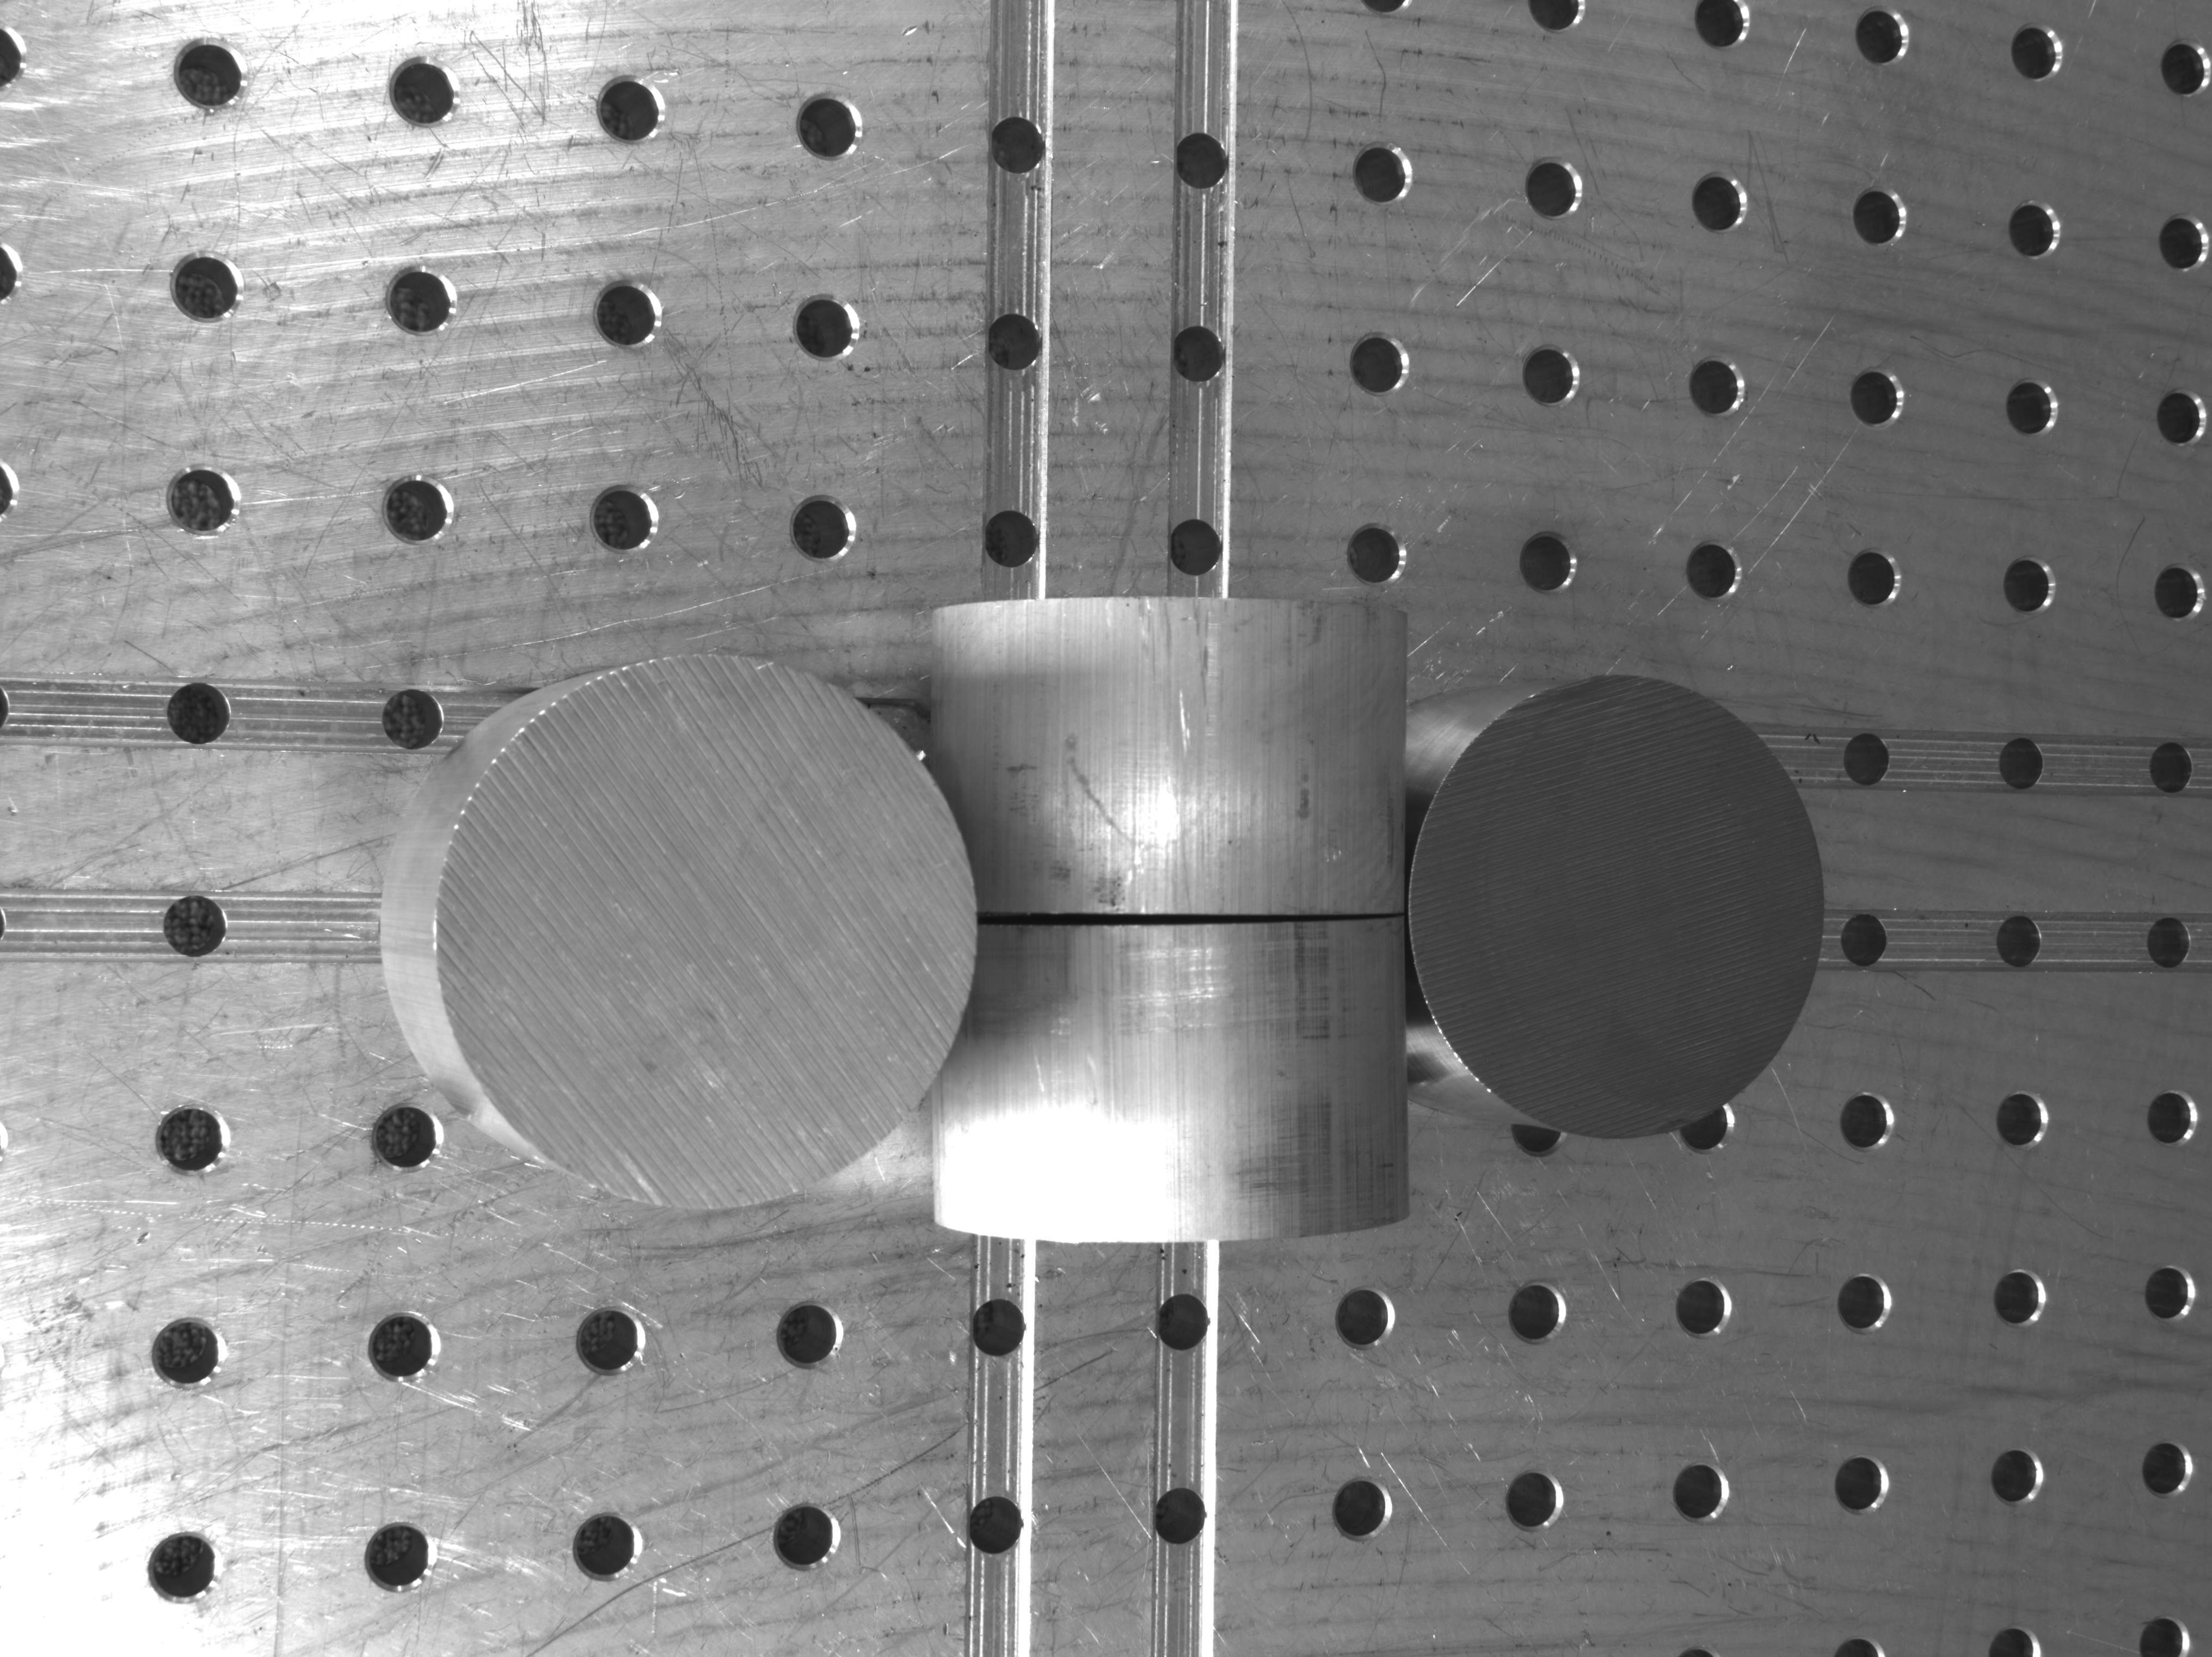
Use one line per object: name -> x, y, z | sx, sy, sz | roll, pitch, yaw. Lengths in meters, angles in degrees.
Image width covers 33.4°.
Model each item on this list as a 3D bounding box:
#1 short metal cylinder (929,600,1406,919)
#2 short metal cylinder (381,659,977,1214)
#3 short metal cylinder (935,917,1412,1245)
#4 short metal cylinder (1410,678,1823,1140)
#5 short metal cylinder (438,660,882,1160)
short metal cylinder -> 0.010, -0.011, 0.621 | 0.080, 0.080, 0.050 | 1, 90, -20
short metal cylinder -> -0.065, 0.016, 0.555 | 0.080, 0.050, 0.080 | 0, 90, -20
short metal cylinder -> 0.011, 0.040, 0.620 | 0.080, 0.080, 0.050 | -1, 90, -20
short metal cylinder -> 0.081, 0.014, 0.661 | 0.080, 0.050, 0.080 | 0, 90, -20
short metal cylinder -> -0.070, 0.013, 0.607 | 0.080, 0.050, 0.080 | 0, 90, -20
